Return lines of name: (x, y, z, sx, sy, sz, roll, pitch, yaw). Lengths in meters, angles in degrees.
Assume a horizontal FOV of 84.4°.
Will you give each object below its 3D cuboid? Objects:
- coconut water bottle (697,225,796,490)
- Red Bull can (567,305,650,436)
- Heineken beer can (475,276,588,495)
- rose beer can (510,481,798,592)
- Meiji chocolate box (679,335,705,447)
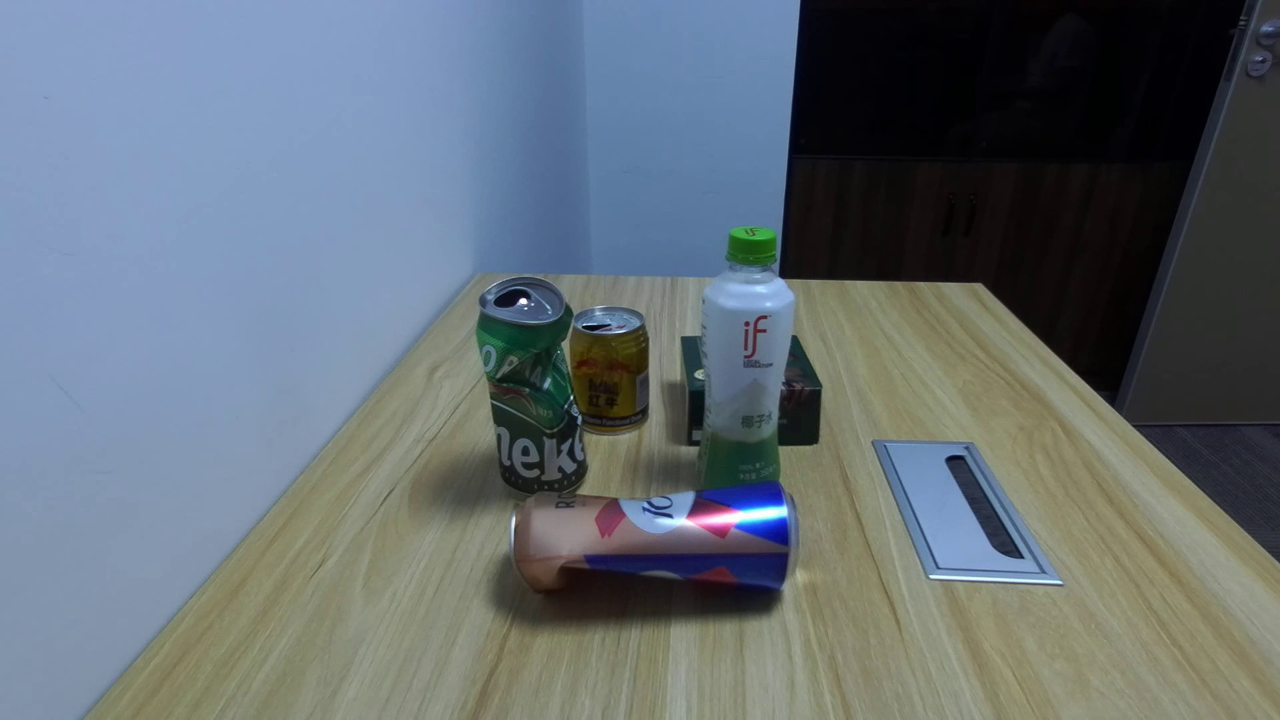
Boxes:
coconut water bottle: (0.072, 0.005, 0.486, 0.063, 0.189, 0.063, 0, 24, 0)
Red Bull can: (-0.026, 0.008, 0.597, 0.069, 0.092, 0.069, 0, 26, 0)
Heineken beer can: (-0.075, 0.022, 0.497, 0.067, 0.159, 0.078, -13, 35, -18)
rose beer can: (0.008, 0.105, 0.424, 0.168, 0.069, 0.069, -2, 45, 1)
Meiji chocolate box: (0.092, 0.024, 0.608, 0.109, 0.056, 0.110, -1, 25, 0)
